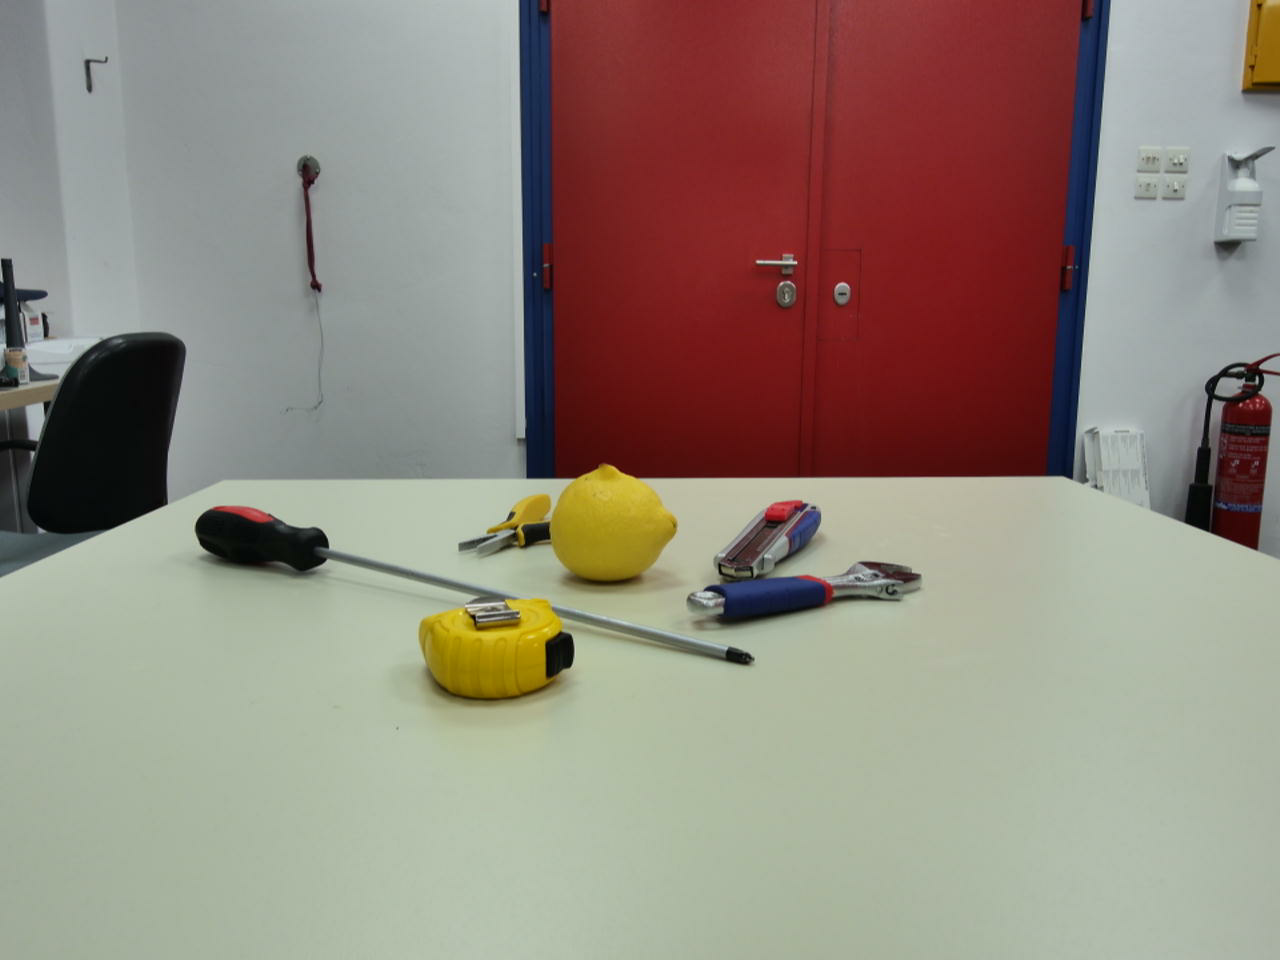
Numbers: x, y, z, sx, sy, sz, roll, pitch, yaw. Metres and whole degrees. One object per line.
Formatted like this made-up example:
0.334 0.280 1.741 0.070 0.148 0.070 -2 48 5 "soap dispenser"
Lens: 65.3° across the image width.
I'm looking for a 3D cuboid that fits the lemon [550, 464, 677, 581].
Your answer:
-0.019 0.025 0.609 0.070 0.071 0.071 -6 9 -34 "lemon"
